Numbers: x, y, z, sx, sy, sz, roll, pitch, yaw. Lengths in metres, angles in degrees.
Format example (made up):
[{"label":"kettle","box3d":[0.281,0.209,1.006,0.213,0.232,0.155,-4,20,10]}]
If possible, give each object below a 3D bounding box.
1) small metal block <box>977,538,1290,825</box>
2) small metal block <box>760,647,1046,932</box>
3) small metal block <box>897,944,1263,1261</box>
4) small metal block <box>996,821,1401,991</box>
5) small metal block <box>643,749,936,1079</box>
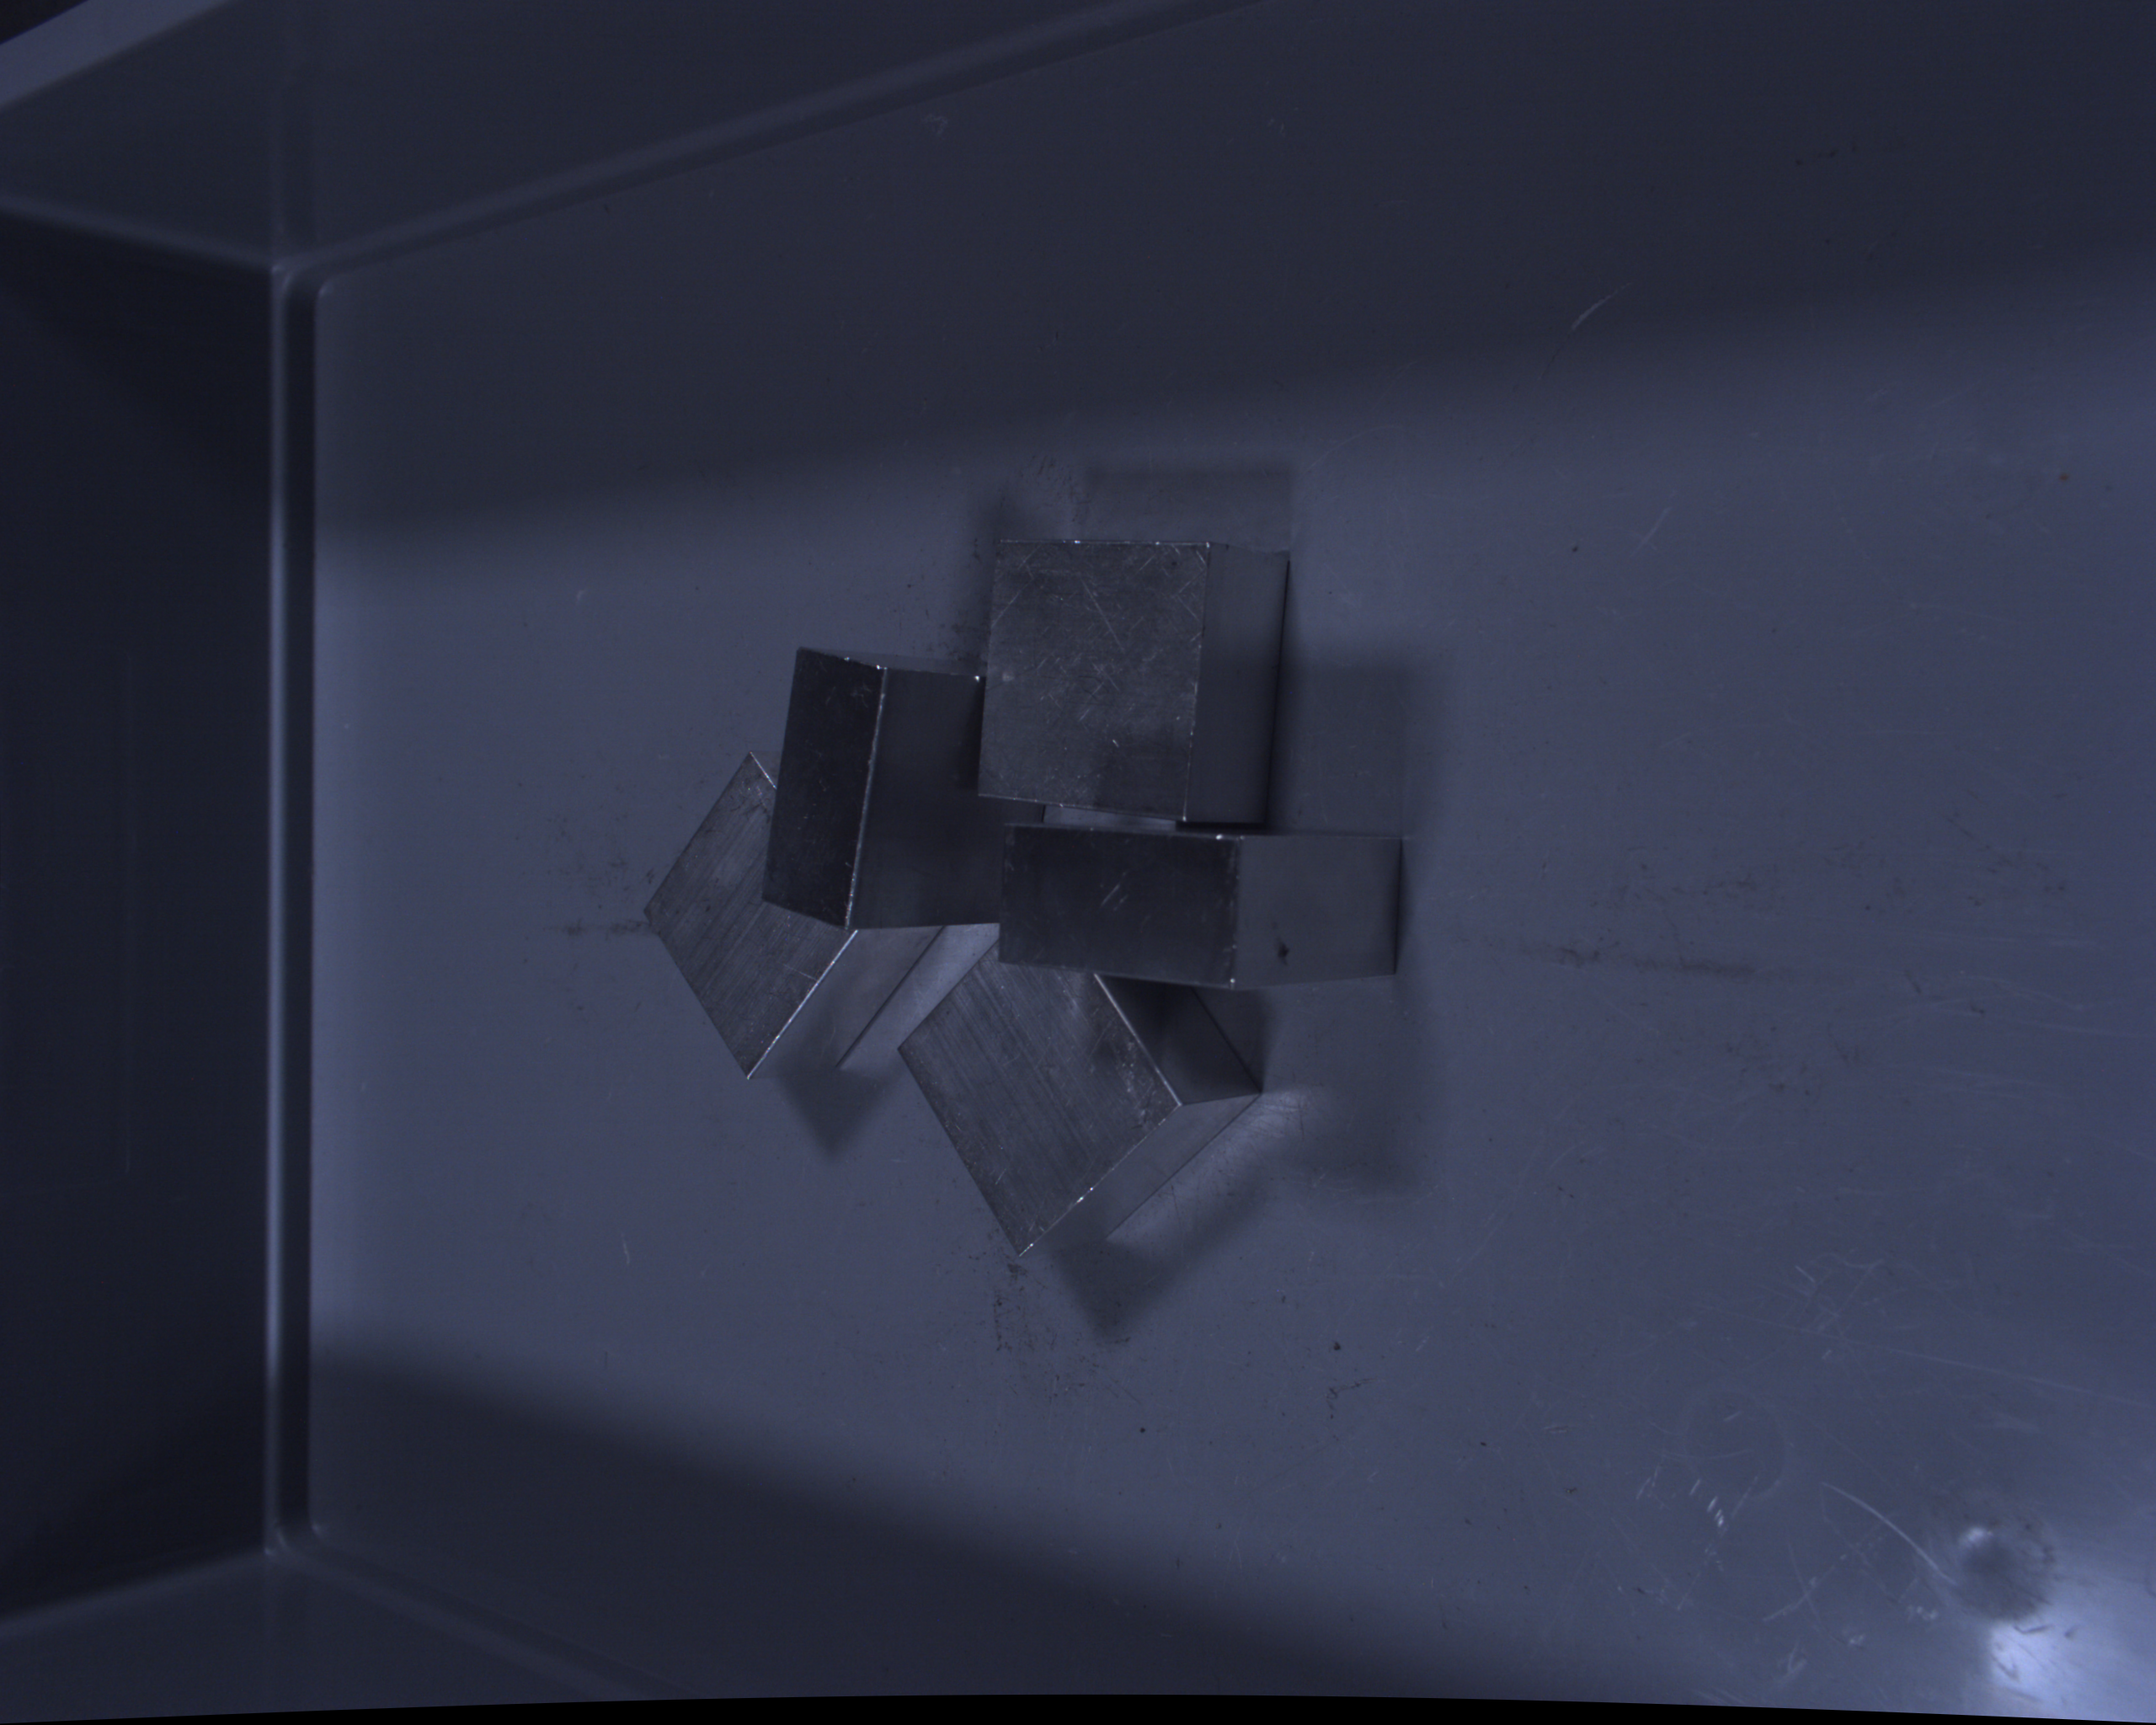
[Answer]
[{"label":"small metal block","box3d":[0.010,-0.035,0.394,0.050,0.025,0.050,8,95,39]},{"label":"small metal block","box3d":[-0.032,-0.014,0.412,0.025,0.050,0.050,16,100,38]},{"label":"small metal block","box3d":[-0.001,0.040,0.403,0.050,0.025,0.050,-48,62,29]},{"label":"small metal block","box3d":[0.022,0.007,0.368,0.050,0.050,0.025,4,93,39]},{"label":"small metal block","box3d":[-0.062,0.011,0.453,0.050,0.025,0.050,-52,60,27]}]
